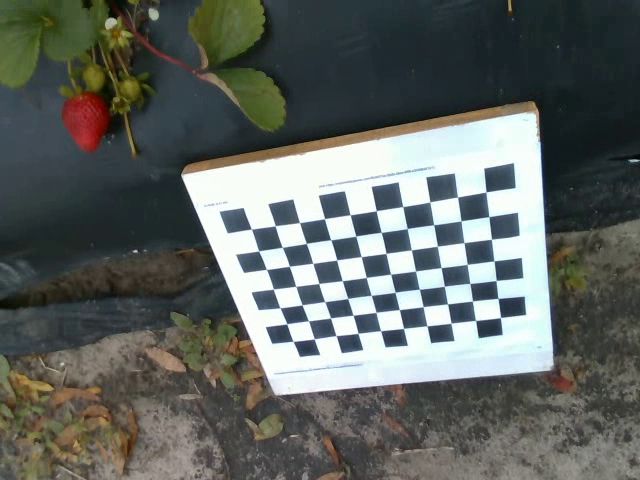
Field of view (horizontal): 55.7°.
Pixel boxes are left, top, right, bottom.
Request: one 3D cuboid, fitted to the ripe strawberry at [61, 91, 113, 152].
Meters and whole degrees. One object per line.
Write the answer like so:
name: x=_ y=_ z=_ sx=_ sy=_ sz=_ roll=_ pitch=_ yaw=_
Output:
ripe strawberry: x=-0.058 y=-0.027 z=0.146 sx=0.018 sy=0.017 sz=0.014 roll=-10 pitch=-10 yaw=3
